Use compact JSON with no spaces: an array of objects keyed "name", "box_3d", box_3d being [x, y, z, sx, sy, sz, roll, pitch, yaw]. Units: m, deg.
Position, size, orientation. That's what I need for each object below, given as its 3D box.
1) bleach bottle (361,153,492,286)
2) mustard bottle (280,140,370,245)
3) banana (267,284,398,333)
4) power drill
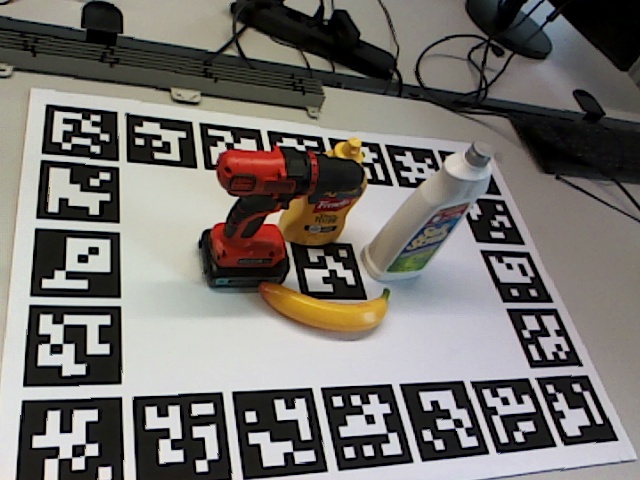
[{"name":"bleach bottle","box_3d":[0.154,-0.028,0.871,0.102,0.251,0.068,-5,58,-28]},{"name":"mustard bottle","box_3d":[0.016,-0.068,0.869,0.096,0.191,0.058,4,53,-24]},{"name":"banana","box_3d":[0.023,0.091,0.846,0.196,0.039,0.074,4,57,-19]},{"name":"power drill","box_3d":[-0.059,-0.034,0.783,0.183,0.187,0.057,1,47,-27]}]
